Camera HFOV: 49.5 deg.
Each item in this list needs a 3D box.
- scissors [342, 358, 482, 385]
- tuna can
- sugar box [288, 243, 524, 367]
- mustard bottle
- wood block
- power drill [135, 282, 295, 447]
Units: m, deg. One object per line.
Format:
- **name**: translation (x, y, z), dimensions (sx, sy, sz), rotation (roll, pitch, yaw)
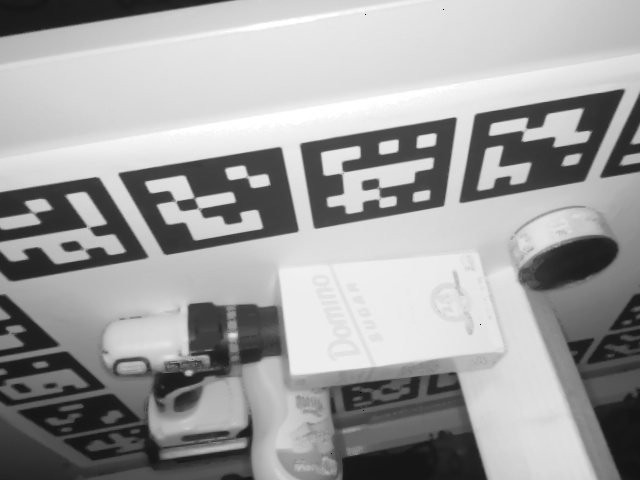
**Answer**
- **scissors**: translation (0.120, 0.137, 0.747), dimensions (0.204, 0.016, 0.087), rotation (-8, 146, -5)
- **tuna can**: translation (0.226, -0.001, 0.586), dimensions (0.086, 0.034, 0.085), rotation (-7, 141, -5)
- **sugar box**: translation (0.067, 0.050, 0.567), dimensions (0.178, 0.093, 0.045), rotation (0, 144, -11)
- **mustard bottle**: translation (-0.011, 0.182, 0.641), dimensions (0.057, 0.192, 0.097), rotation (-37, 134, 28)
- **wood block**: translation (0.204, 0.128, 0.622), dimensions (0.090, 0.207, 0.090), rotation (-28, 138, 20)
- **power drill**: translation (-0.070, 0.114, 0.635), dimensions (0.186, 0.057, 0.184), rotation (-1, 134, -14)
